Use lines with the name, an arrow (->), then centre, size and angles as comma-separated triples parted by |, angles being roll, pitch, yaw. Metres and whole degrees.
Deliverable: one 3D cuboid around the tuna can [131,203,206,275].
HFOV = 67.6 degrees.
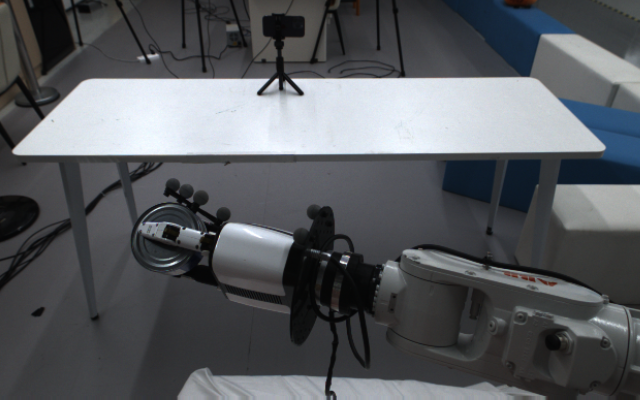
tuna can -> -0.180, 0.049, 0.587 | 0.085, 0.034, 0.085 | -2, 70, 6
